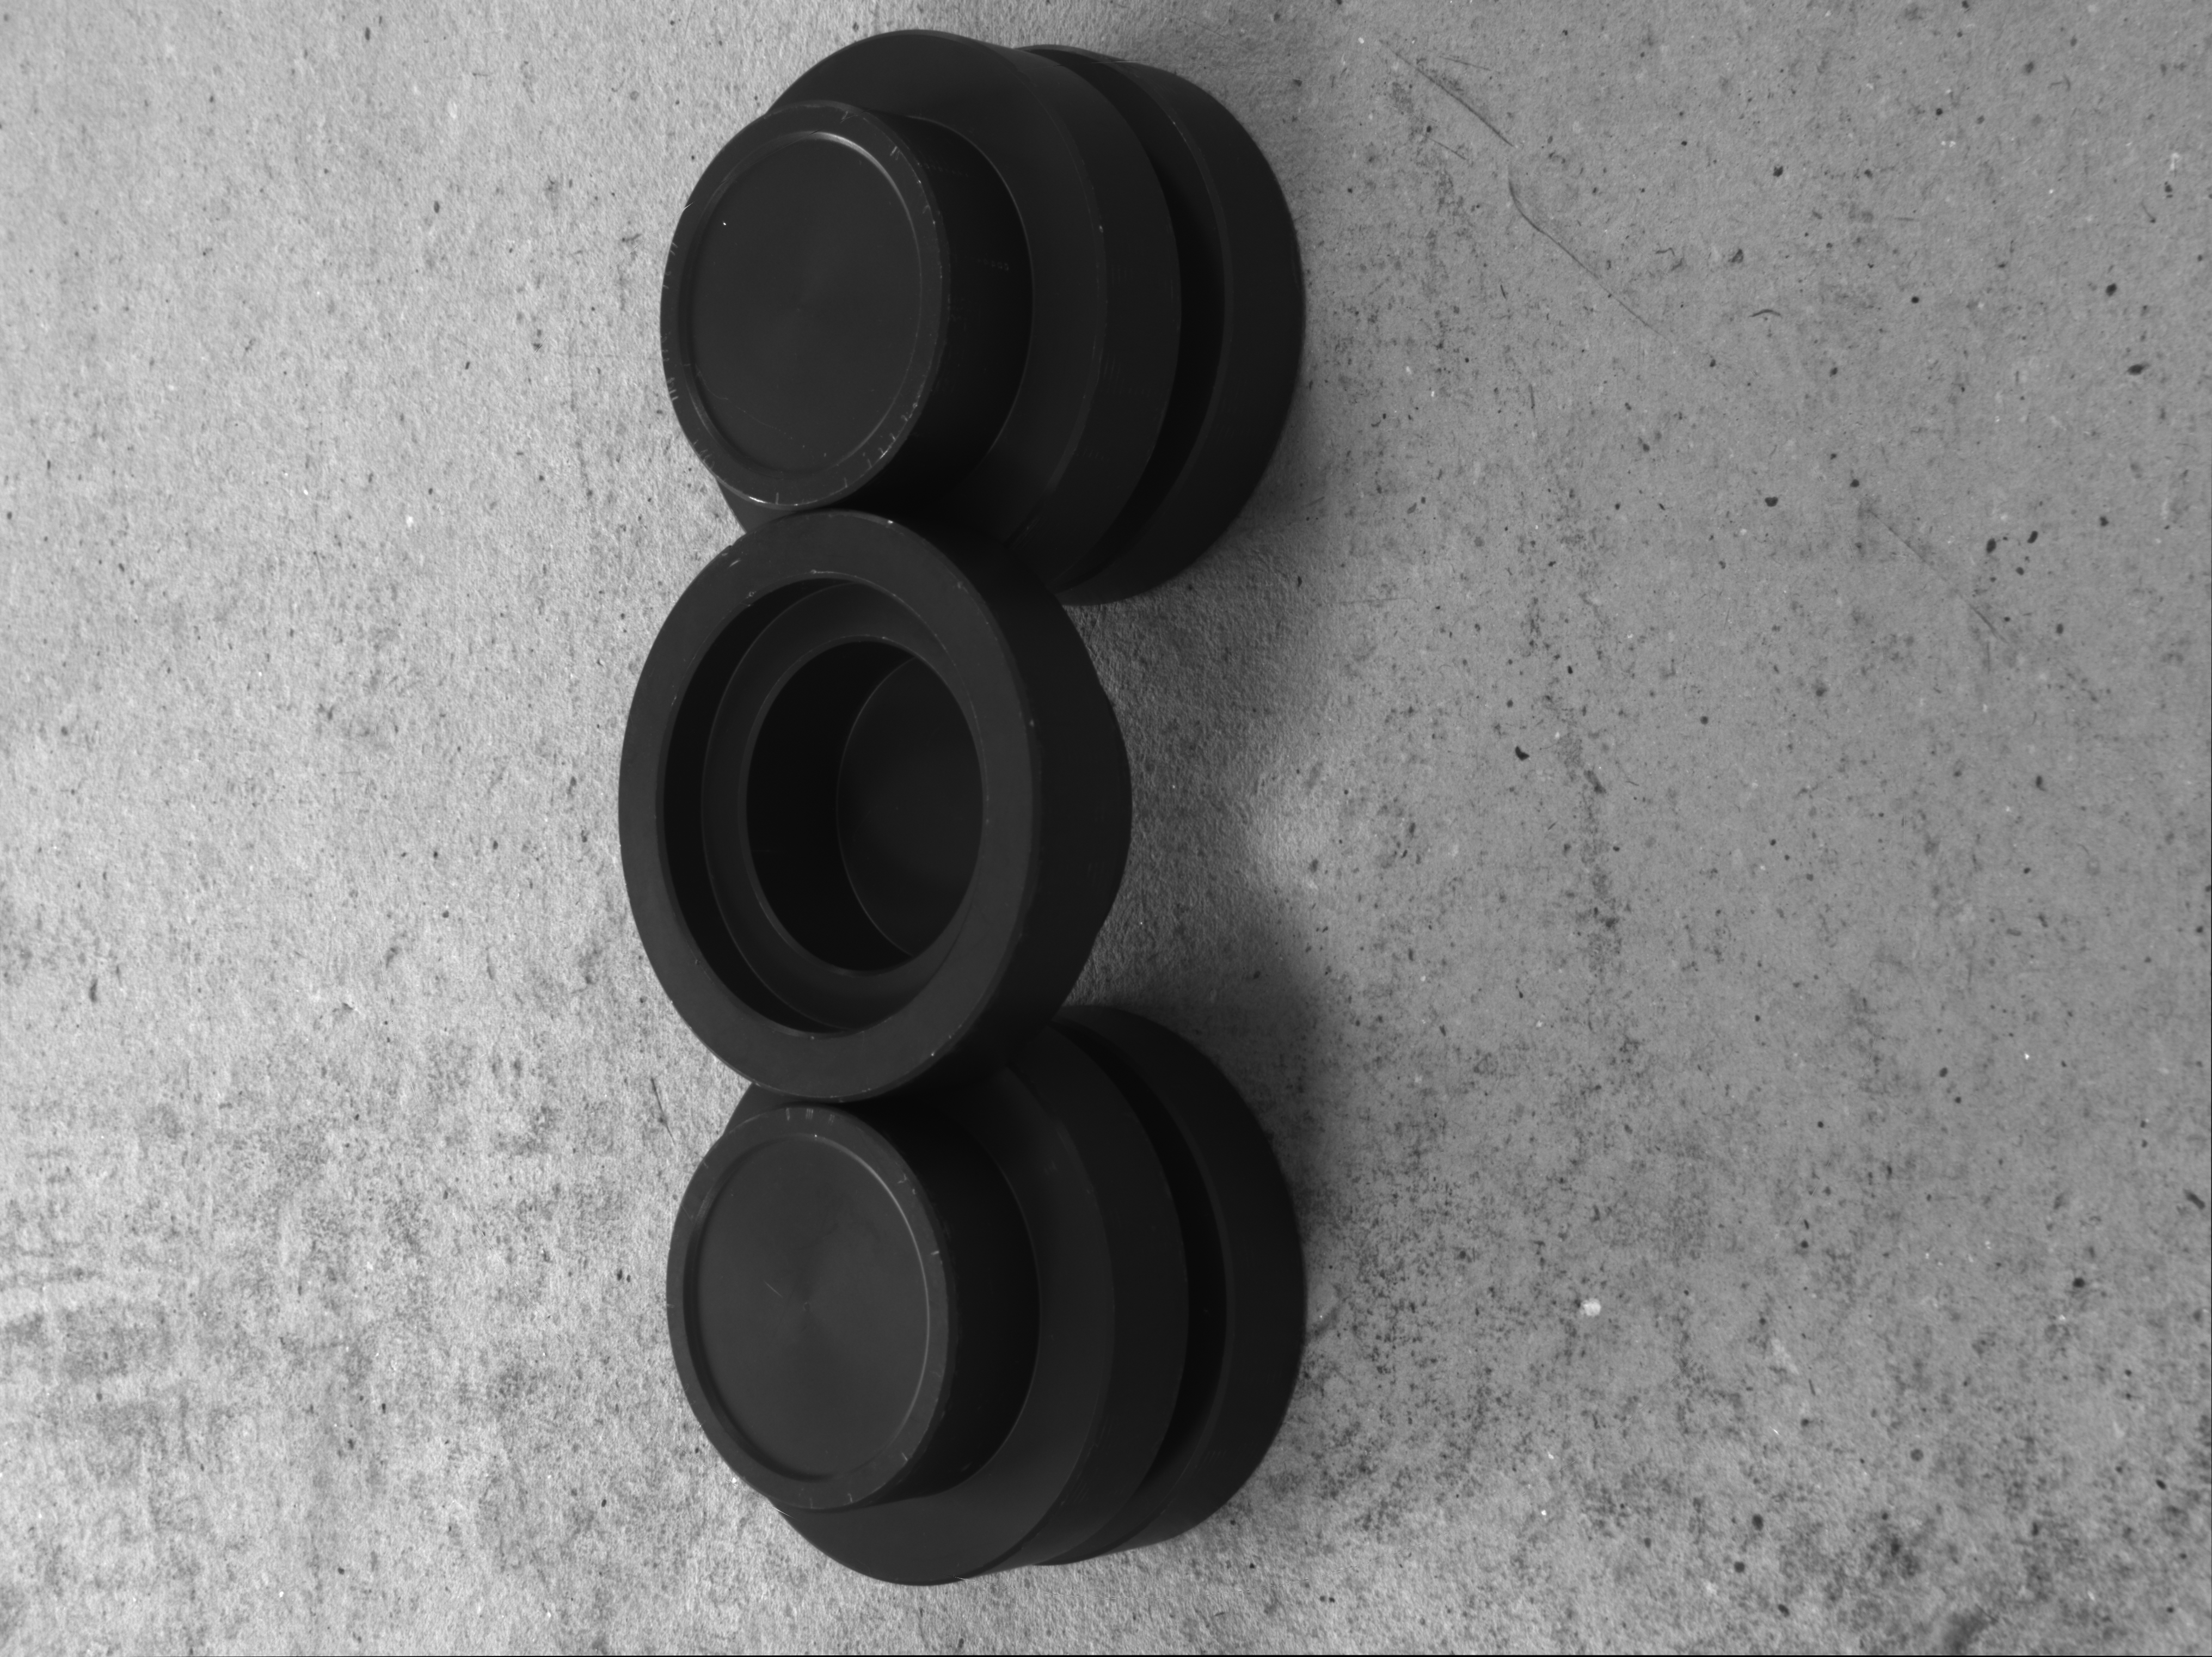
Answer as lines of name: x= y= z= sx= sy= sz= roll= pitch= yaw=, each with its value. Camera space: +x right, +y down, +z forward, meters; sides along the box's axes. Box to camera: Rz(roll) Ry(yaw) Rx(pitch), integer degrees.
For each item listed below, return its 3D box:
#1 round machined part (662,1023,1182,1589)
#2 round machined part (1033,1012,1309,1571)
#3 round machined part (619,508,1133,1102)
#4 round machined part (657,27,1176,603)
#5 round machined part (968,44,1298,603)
round machined part: x=-0.037 y=0.080 z=0.621 sx=0.098 sy=0.042 sz=0.098 roll=0 pitch=91 yaw=41
round machined part: x=-0.015 y=0.082 z=0.648 sx=0.098 sy=0.042 sz=0.098 roll=-1 pitch=88 yaw=41
round machined part: x=-0.034 y=-0.004 z=0.621 sx=0.098 sy=0.042 sz=0.098 roll=0 pitch=90 yaw=40
round machined part: x=-0.038 y=-0.087 z=0.624 sx=0.098 sy=0.042 sz=0.098 roll=0 pitch=91 yaw=41
round machined part: x=-0.017 y=-0.089 z=0.648 sx=0.098 sy=0.042 sz=0.098 roll=0 pitch=91 yaw=42
